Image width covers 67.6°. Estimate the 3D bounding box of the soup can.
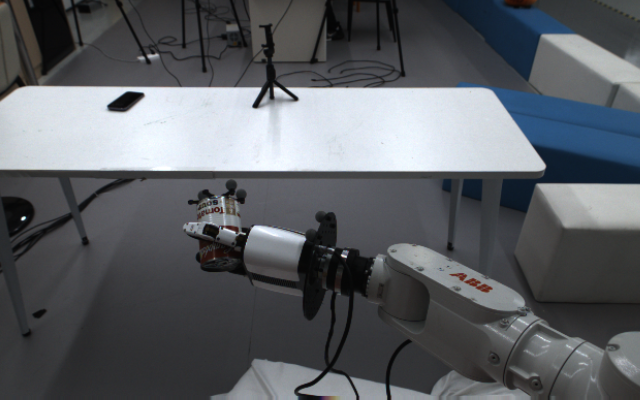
[{"bbox_3d":[-0.151,0.054,0.743,0.067,0.067,0.101,-6,67,-12],"label":"soup can"}]
